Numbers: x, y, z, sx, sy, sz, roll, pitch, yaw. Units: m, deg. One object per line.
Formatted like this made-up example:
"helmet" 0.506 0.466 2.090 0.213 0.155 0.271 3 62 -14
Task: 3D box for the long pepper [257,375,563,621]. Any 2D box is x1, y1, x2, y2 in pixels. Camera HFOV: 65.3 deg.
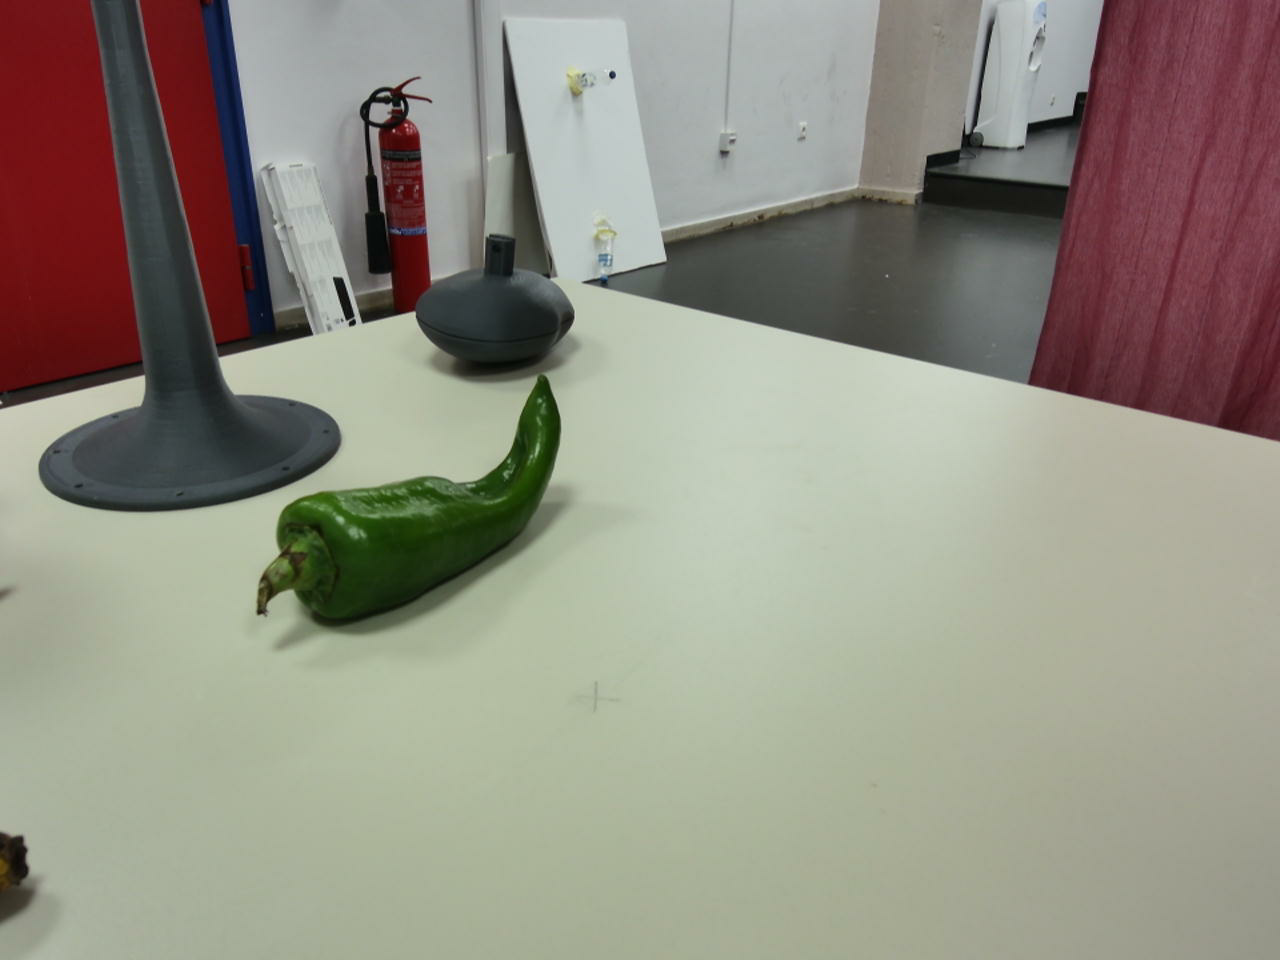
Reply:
"long pepper" -0.088 0.008 0.423 0.058 0.065 0.175 17 28 33
